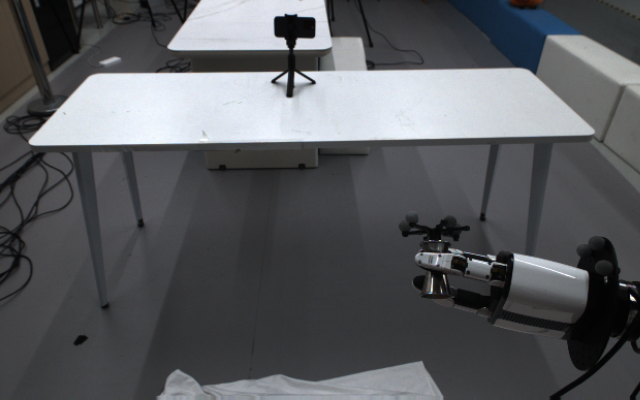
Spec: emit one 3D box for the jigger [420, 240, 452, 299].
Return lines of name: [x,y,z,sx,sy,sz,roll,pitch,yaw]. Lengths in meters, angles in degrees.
jigger: [0.146,0.087,0.616,0.043,0.043,0.071,3,72,1]
